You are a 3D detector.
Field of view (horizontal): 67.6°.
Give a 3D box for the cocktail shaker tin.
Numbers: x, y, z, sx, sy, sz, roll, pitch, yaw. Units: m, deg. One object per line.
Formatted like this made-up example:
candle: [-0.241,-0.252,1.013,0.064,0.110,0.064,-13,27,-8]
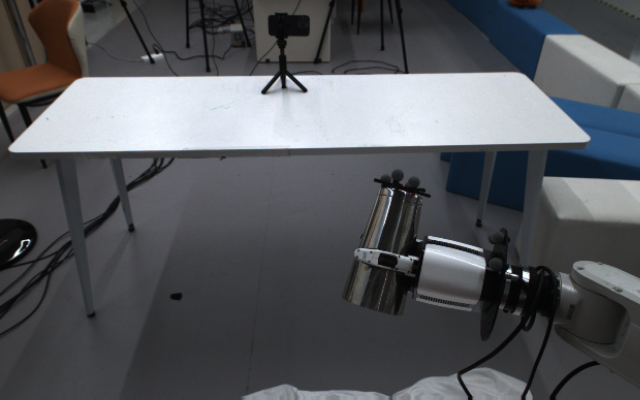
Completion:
cocktail shaker tin: [0.099,0.072,0.709,0.093,0.170,0.093,15,-4,1]
